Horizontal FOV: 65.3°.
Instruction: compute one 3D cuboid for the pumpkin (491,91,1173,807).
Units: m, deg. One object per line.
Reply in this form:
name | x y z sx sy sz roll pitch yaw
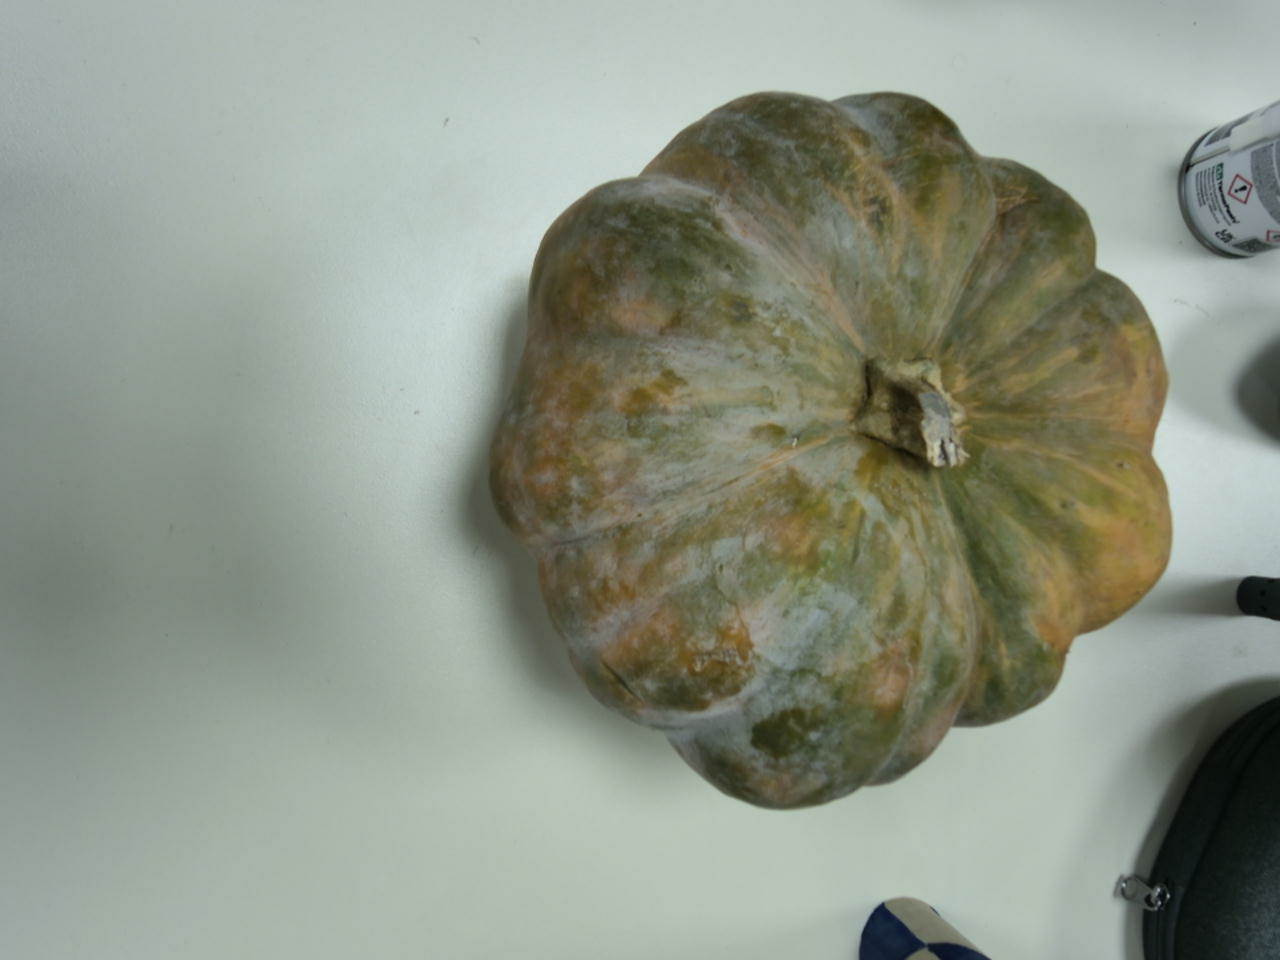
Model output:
pumpkin | 0.069 -0.018 0.367 0.252 0.169 0.252 0 91 -12
